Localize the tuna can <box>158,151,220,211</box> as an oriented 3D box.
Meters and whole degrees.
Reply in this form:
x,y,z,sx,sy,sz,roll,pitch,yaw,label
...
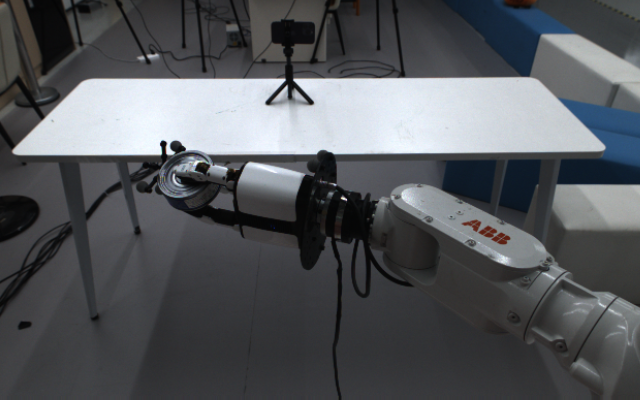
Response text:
x,y,z,sx,sy,sz,roll,pitch,yaw,label
-0.186,-0.029,0.693,0.085,0.034,0.085,-4,60,6,tuna can
